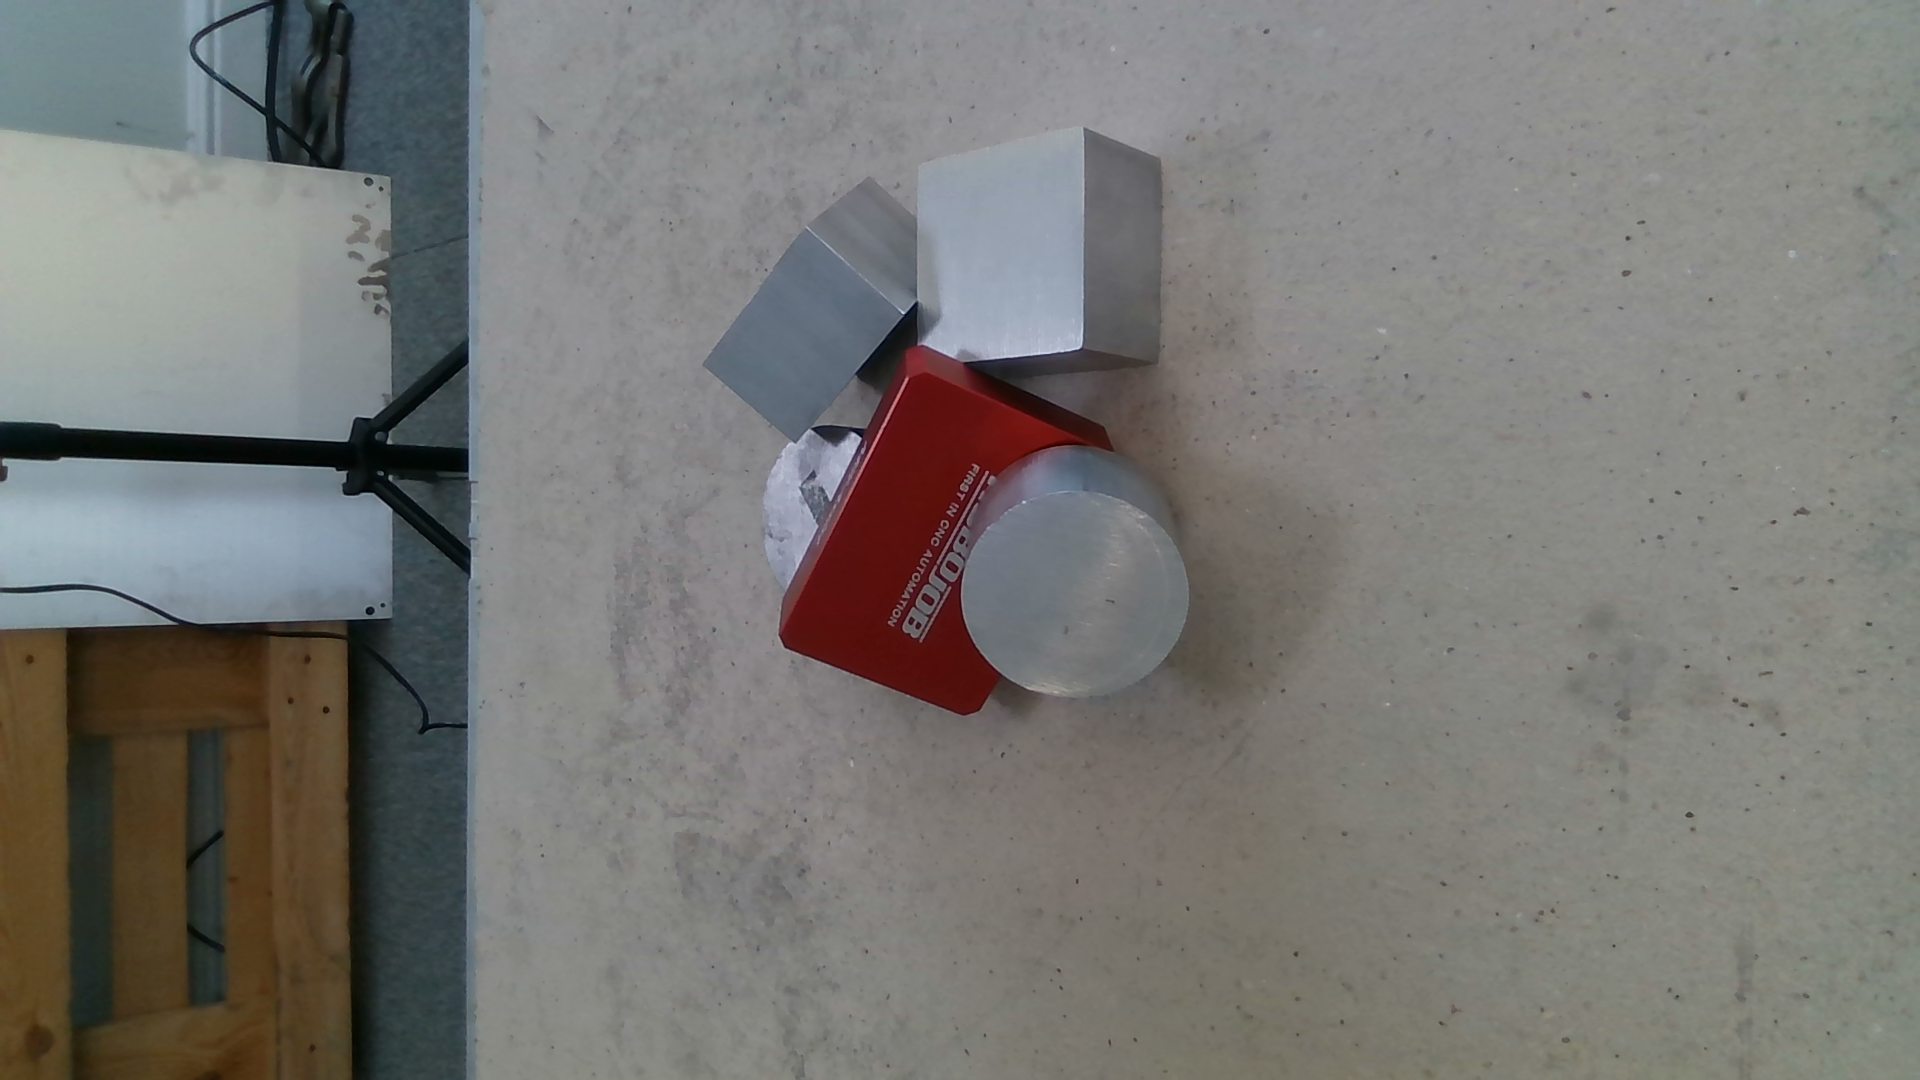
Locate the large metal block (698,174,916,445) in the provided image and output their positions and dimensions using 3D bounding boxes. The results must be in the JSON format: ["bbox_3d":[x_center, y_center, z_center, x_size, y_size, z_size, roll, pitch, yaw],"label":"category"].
[{"bbox_3d":[-0.054,-0.098,0.582,0.050,0.080,0.080,40,122,-7],"label":"large metal block"}]

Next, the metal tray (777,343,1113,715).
[{"bbox_3d":[-0.007,-0.001,0.548,0.130,0.090,0.030,-61,16,22],"label":"metal tray"}]

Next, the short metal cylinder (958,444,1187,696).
[{"bbox_3d":[0.041,0.010,0.506,0.080,0.050,0.080,2,113,4],"label":"short metal cylinder"}]

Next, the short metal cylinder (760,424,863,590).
[{"bbox_3d":[-0.042,-0.009,0.602,0.080,0.050,0.080,0,91,40],"label":"short metal cylinder"}]

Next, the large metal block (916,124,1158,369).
[{"bbox_3d":[0.029,-0.109,0.538,0.080,0.050,0.080,1,91,40],"label":"large metal block"}]
